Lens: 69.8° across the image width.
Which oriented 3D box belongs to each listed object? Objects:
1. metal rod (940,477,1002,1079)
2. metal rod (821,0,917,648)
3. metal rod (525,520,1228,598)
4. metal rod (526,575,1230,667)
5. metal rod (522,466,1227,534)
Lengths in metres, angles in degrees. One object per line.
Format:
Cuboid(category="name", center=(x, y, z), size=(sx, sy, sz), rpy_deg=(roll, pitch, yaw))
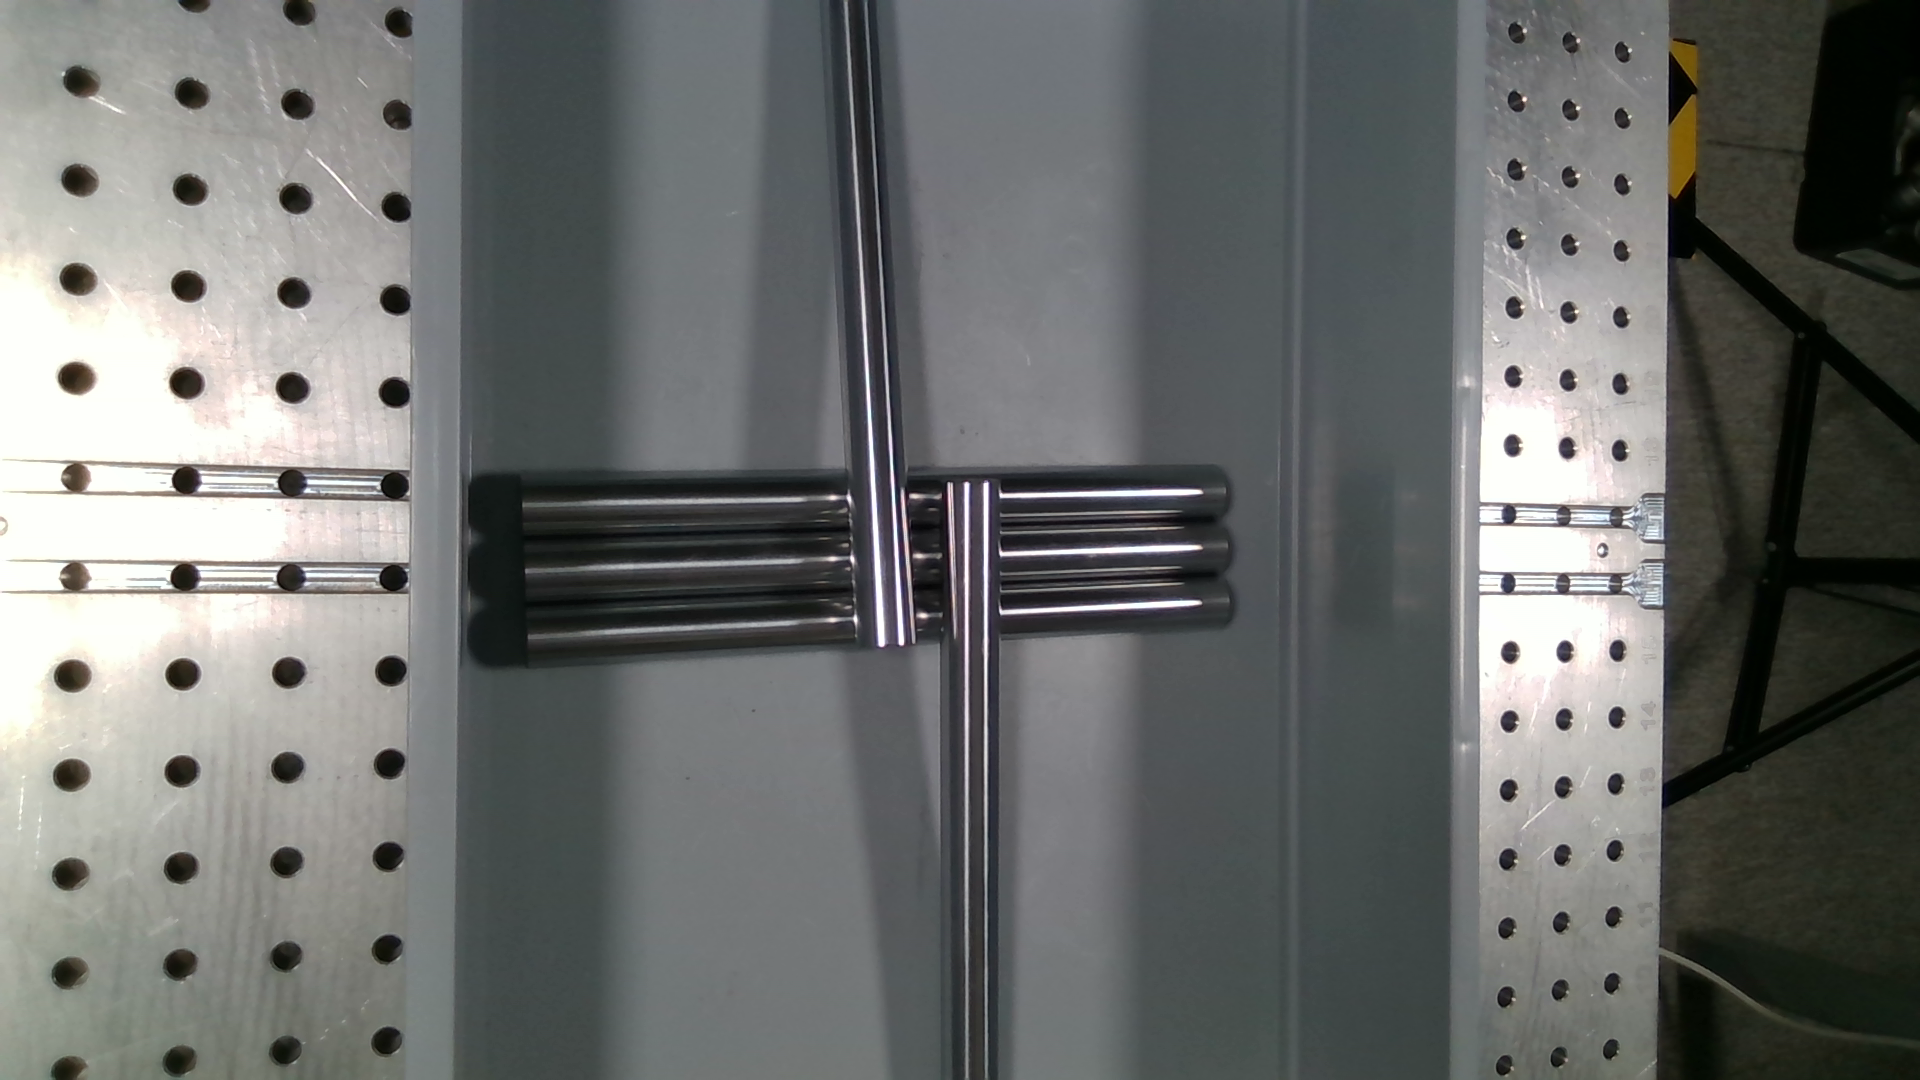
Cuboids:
Cuboid(category="metal rod", center=(0.004, 0.124, 0.569), size=(0.025, 0.025, 0.300), rpy_deg=(-3, 97, -20))
Cuboid(category="metal rod", center=(-0.038, -0.108, 0.553), size=(0.025, 0.025, 0.300), rpy_deg=(-2, 85, -20))
Cuboid(category="metal rod", center=(-0.025, 0.006, 0.576), size=(0.300, 0.025, 0.025), rpy_deg=(-2, 91, -20))
Cuboid(category="metal rod", center=(-0.024, 0.032, 0.576), size=(0.300, 0.025, 0.025), rpy_deg=(-2, 91, -20))
Cuboid(category="metal rod", center=(-0.026, -0.018, 0.575), size=(0.300, 0.025, 0.025), rpy_deg=(-2, 91, -20))
